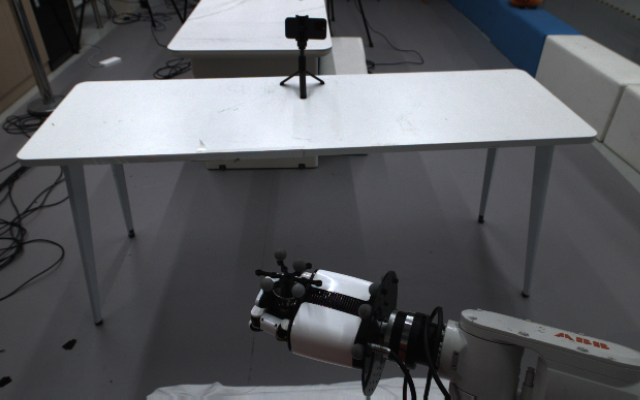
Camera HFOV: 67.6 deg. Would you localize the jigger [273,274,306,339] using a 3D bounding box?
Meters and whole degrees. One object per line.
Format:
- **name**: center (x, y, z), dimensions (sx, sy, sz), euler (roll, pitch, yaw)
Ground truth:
- **jigger**: center (-0.044, 0.147, 0.657), dimensions (0.043, 0.071, 0.043), euler (5, 26, -3)
